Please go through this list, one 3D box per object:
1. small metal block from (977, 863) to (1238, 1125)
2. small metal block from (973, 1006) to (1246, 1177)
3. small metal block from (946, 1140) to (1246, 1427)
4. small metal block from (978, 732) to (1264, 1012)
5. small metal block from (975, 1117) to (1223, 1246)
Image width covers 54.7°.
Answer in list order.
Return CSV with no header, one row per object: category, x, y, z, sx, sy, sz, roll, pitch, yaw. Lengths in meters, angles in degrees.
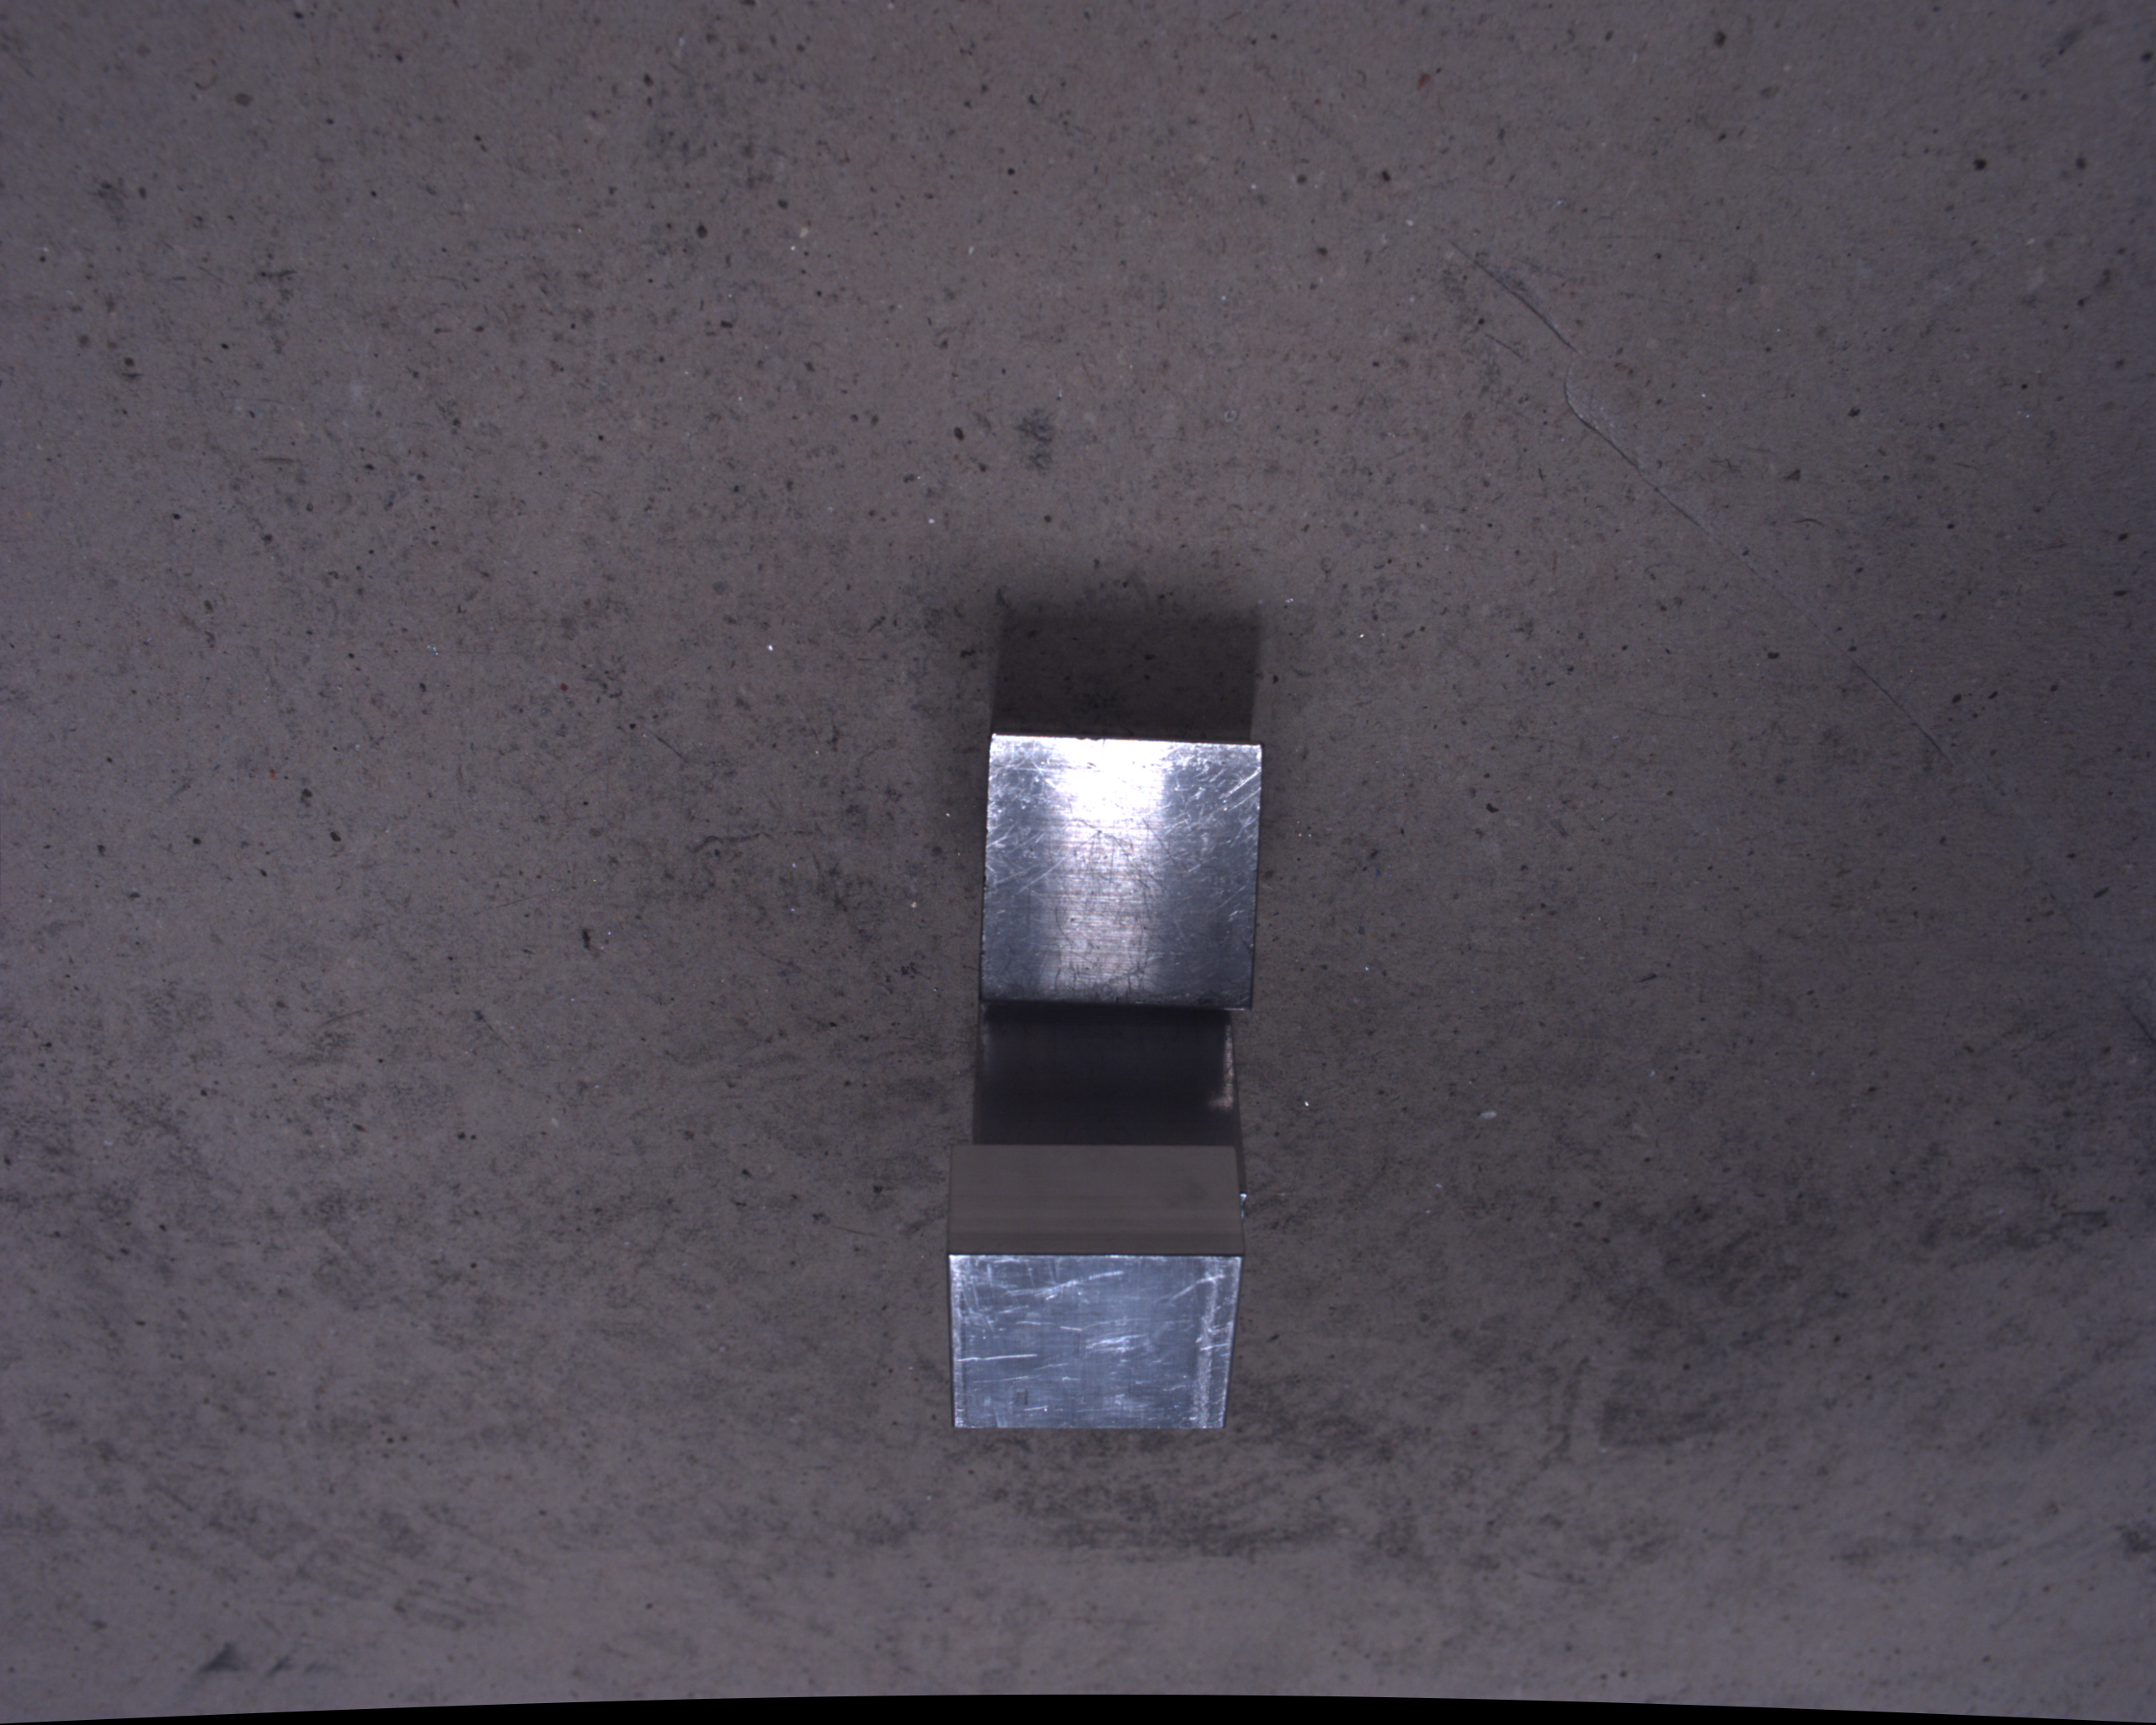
small metal block,0.005,0.028,0.433,0.050,0.025,0.050,2,130,-2
small metal block,0.005,0.053,0.404,0.050,0.050,0.025,2,130,-2
small metal block,0.003,0.076,0.375,0.050,0.025,0.050,1,130,-1
small metal block,0.008,0.001,0.394,0.050,0.025,0.050,2,94,-2
small metal block,0.004,0.069,0.451,0.050,0.025,0.050,2,171,-2
